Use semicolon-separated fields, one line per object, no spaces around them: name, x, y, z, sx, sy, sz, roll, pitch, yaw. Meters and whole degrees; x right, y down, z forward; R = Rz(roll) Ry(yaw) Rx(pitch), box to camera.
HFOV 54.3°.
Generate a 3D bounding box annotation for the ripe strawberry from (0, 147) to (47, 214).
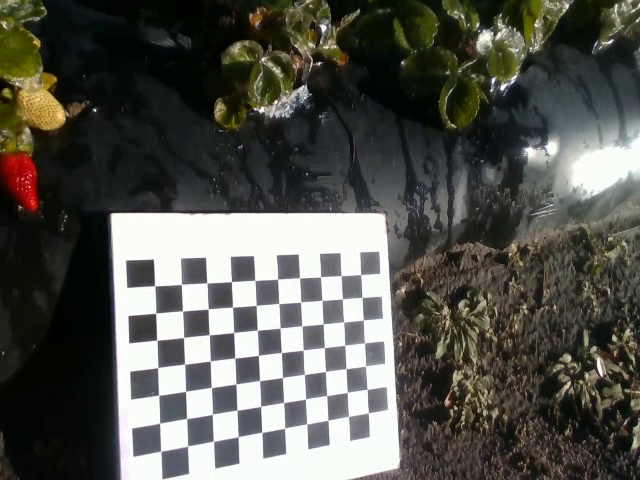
ripe strawberry;-0.241;-0.047;0.503;0.041;0.052;0.040;-21;-2;-29
